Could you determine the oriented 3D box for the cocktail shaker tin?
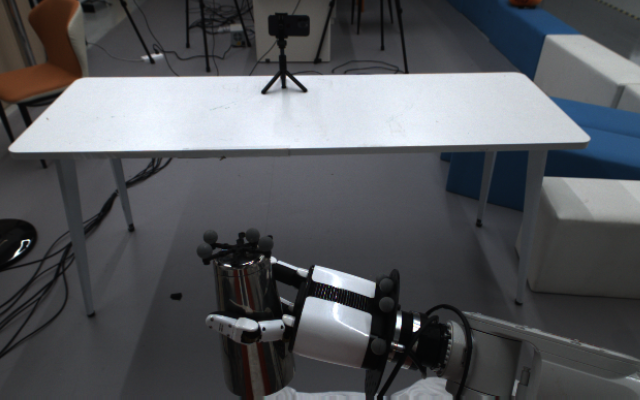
[{"bbox_3d":[-0.085,0.145,0.596,0.093,0.170,0.093,-6,19,2],"label":"cocktail shaker tin"}]
